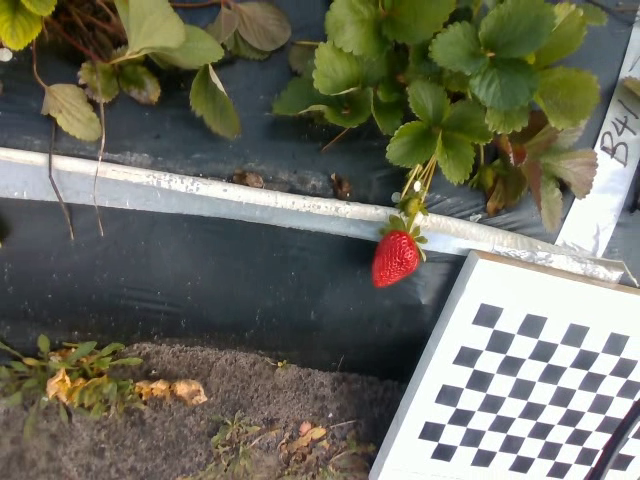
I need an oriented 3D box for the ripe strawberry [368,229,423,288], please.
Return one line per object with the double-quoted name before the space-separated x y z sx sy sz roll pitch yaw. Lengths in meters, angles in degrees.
"ripe strawberry" 0.058 0.016 0.494 0.052 0.048 0.030 -44 27 -14
